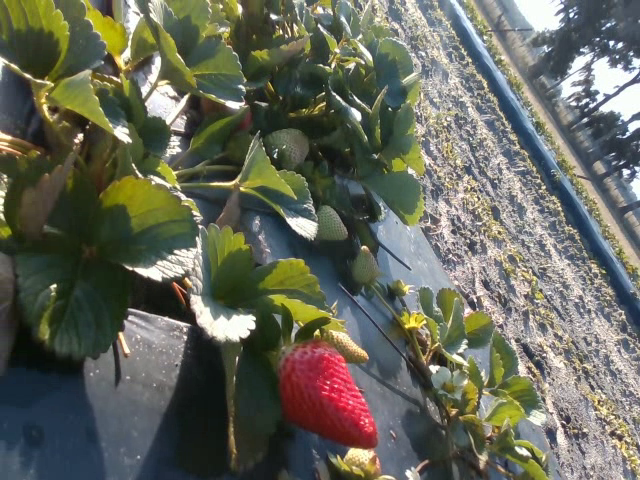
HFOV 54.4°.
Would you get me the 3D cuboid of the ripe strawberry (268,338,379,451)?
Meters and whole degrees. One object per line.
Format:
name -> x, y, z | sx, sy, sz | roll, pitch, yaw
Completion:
ripe strawberry -> 0.005, 0.080, 0.307 | 0.056, 0.072, 0.055 | -39, -21, -23
